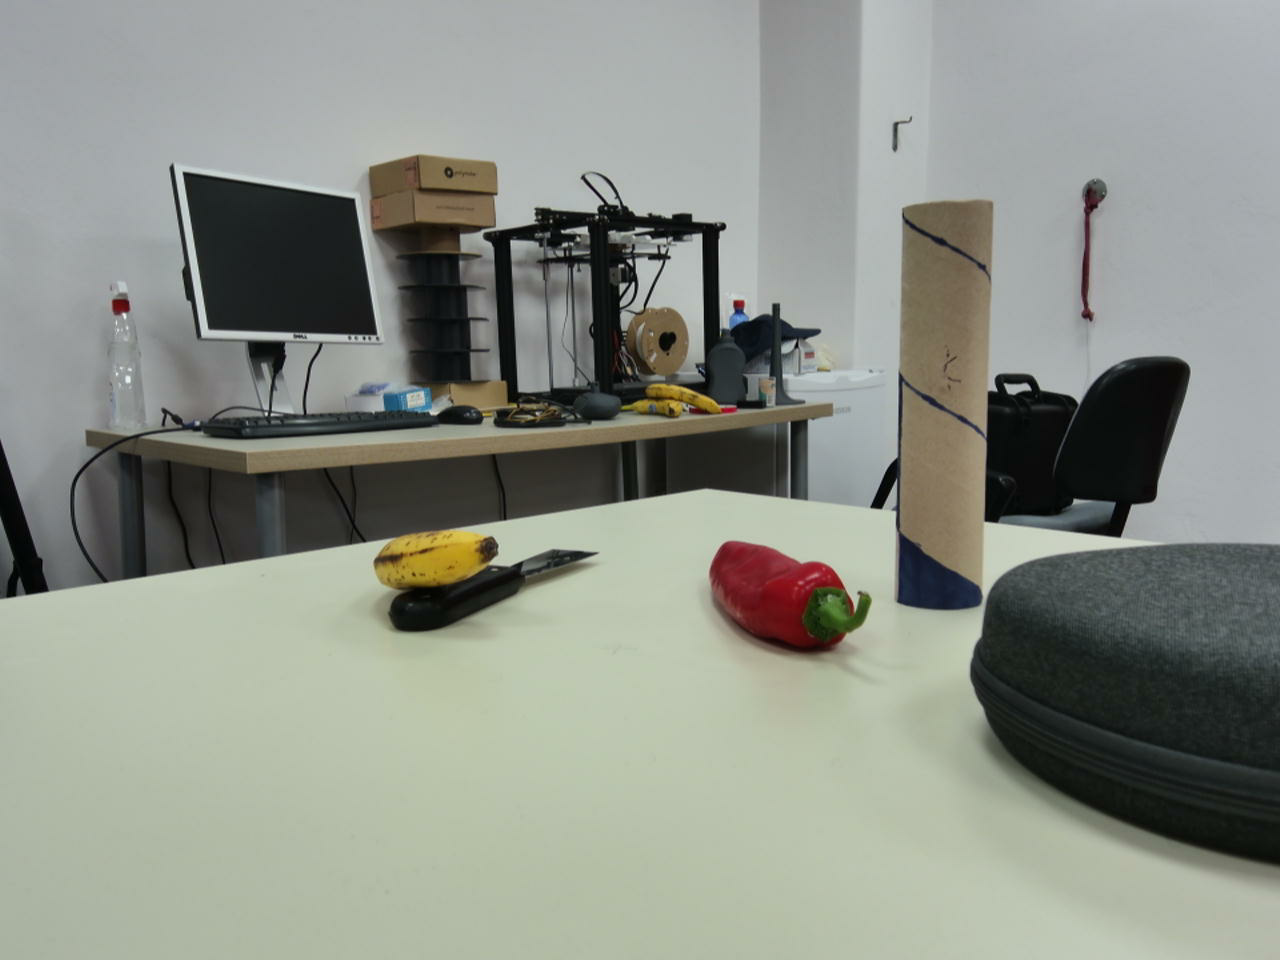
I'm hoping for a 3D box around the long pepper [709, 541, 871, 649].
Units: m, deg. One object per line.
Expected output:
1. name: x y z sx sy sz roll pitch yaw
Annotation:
1. long pepper: 0.071 0.058 0.550 0.050 0.043 0.211 0 6 -10
